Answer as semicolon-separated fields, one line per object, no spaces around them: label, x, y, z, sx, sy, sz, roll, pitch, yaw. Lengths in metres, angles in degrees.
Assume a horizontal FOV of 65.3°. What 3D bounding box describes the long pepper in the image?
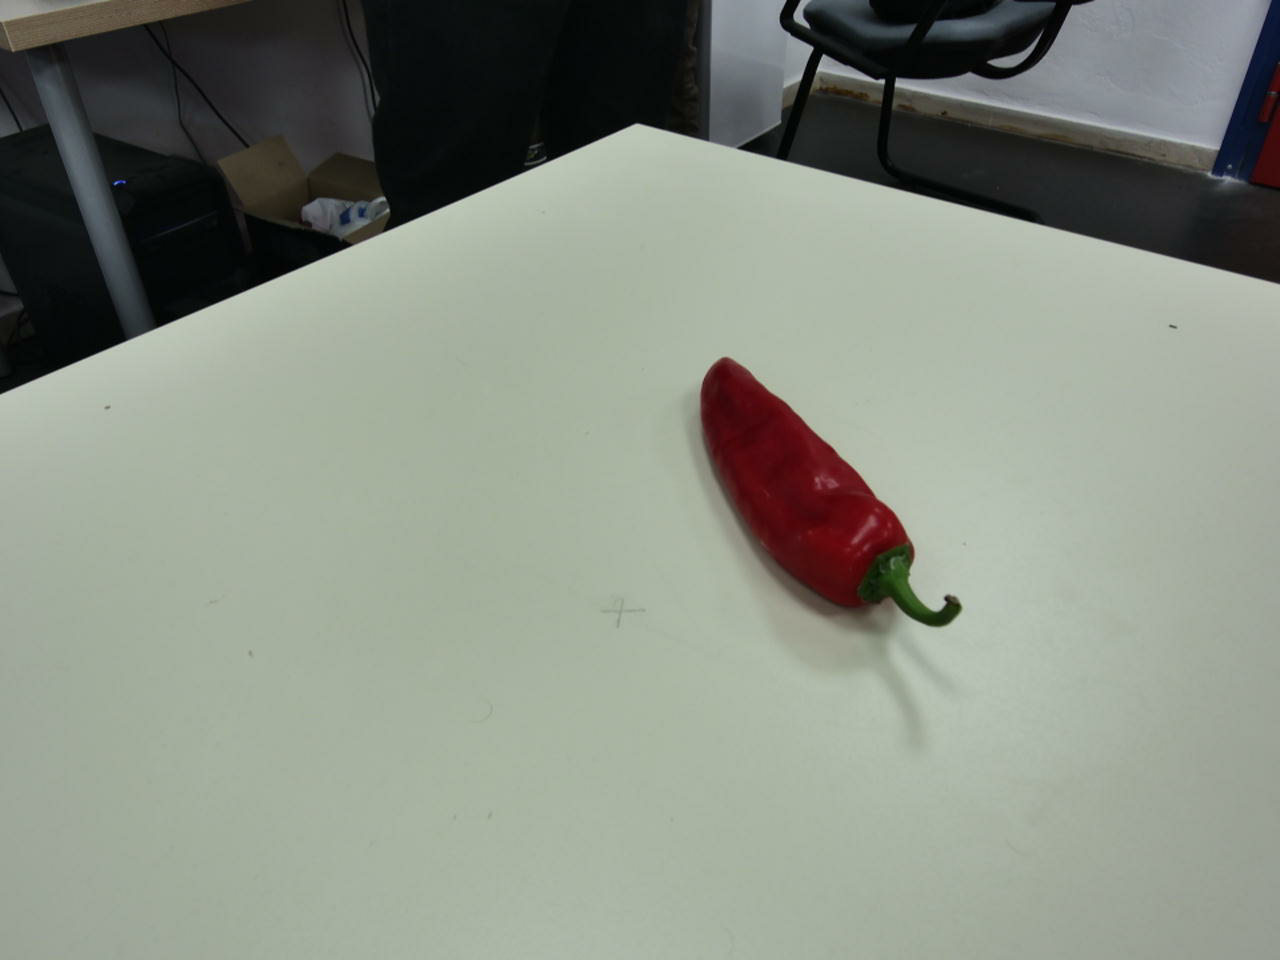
long pepper;0.067;-0.001;0.430;0.050;0.043;0.211;-11;37;-14
